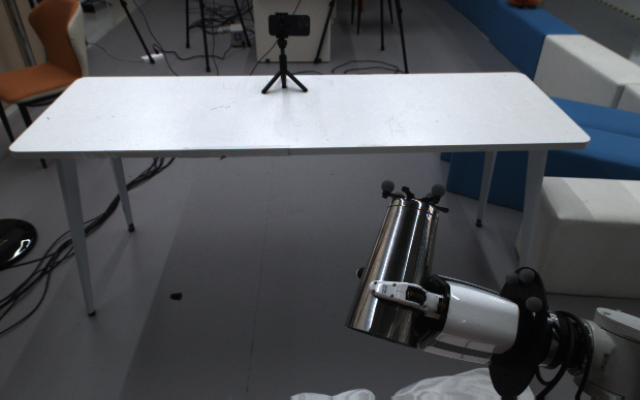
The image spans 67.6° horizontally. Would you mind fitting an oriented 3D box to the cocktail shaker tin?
[{"bbox_3d":[0.098,0.088,0.607,0.093,0.093,0.170,13,74,15],"label":"cocktail shaker tin"}]
